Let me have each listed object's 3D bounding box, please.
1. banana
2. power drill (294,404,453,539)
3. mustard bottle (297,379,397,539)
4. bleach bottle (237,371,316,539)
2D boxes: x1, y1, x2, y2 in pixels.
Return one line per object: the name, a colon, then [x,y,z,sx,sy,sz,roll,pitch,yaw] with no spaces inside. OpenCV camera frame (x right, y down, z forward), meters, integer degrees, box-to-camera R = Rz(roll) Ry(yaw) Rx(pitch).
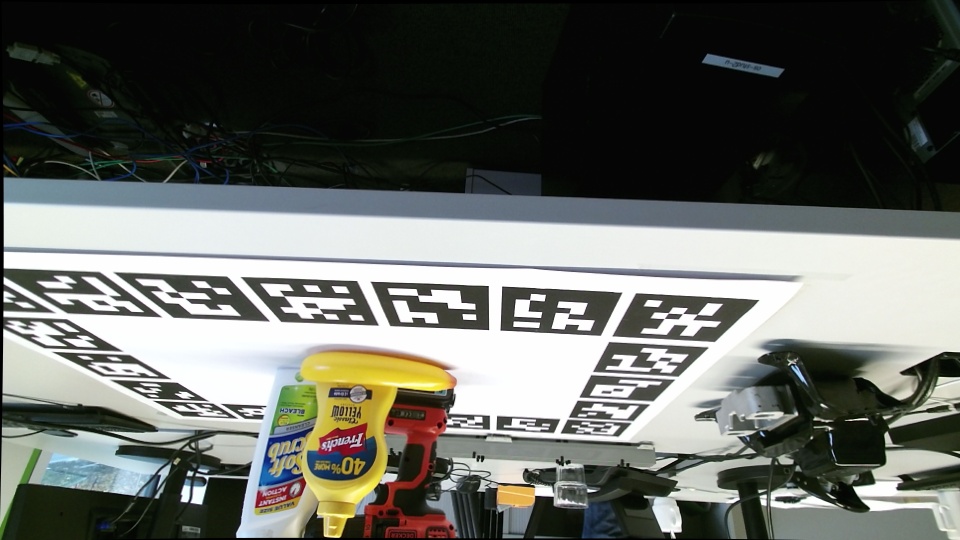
banana: [-0.132,0.121,0.640,0.198,0.038,0.074,4,147,-4]
power drill: [-0.119,0.265,0.669,0.185,0.186,0.057,11,149,-8]
mustard bottle: [-0.157,0.208,0.620,0.096,0.190,0.058,4,148,2]
bleach bottle: [-0.230,0.255,0.658,0.103,0.249,0.068,4,154,-1]
